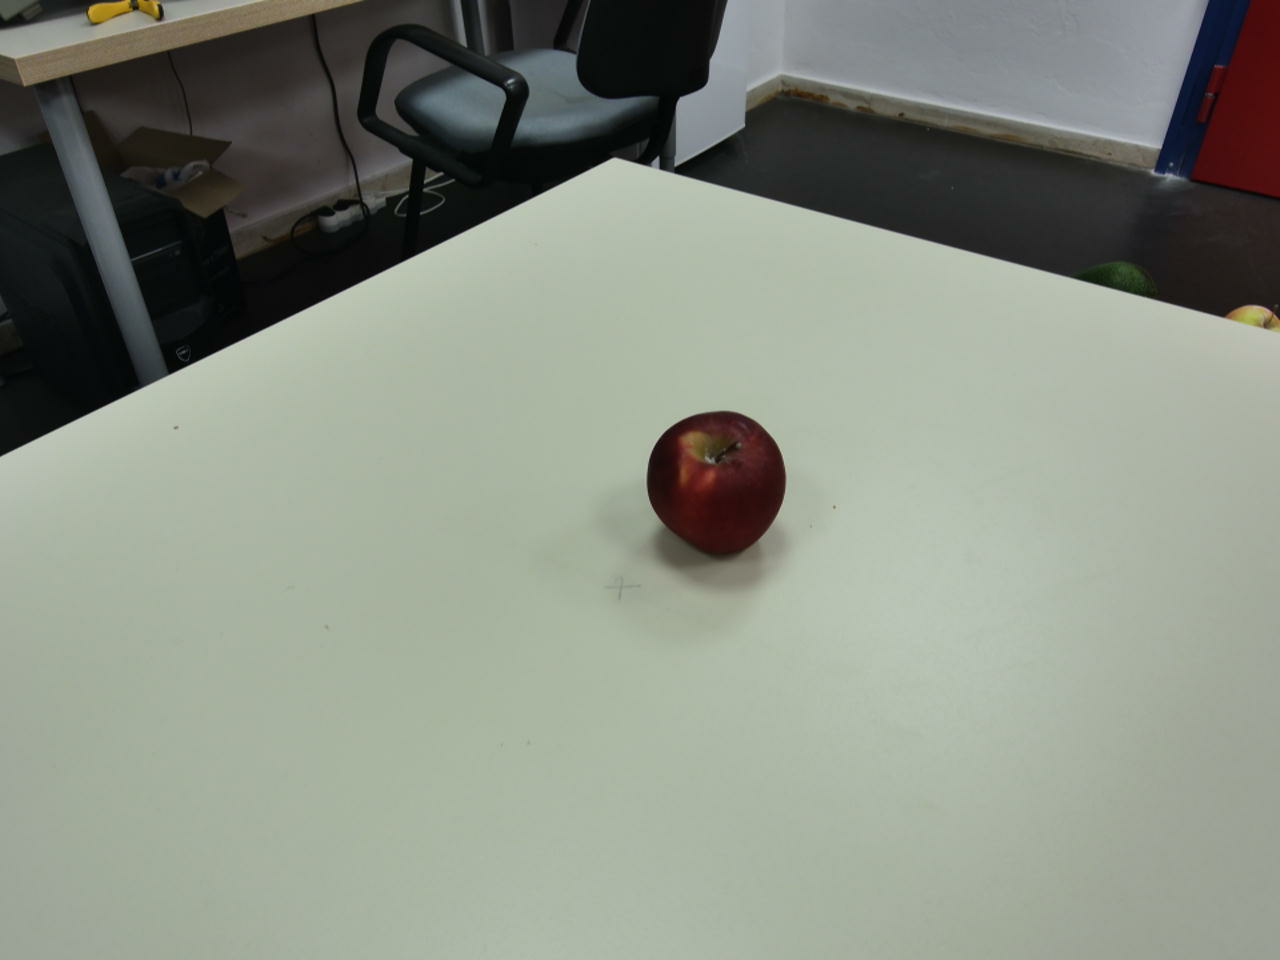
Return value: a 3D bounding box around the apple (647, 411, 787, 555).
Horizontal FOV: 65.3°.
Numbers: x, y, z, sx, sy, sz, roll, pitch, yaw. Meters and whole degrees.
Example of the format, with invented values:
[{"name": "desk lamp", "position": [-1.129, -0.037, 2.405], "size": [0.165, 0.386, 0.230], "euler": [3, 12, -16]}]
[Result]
[{"name": "apple", "position": [0.038, 0.002, 0.497], "size": [0.070, 0.072, 0.070], "euler": [1, 37, 0]}]
